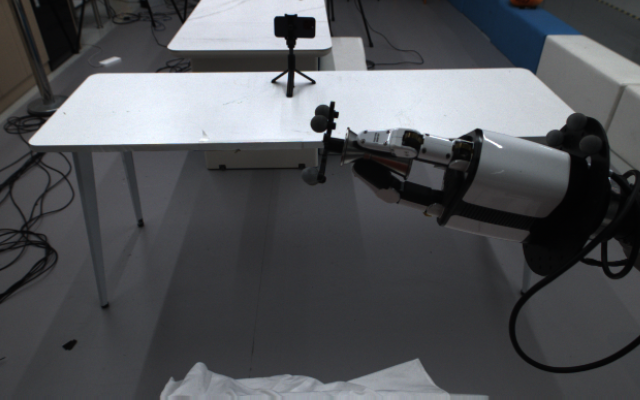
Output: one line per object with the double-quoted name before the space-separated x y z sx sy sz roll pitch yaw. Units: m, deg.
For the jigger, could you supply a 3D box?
"jigger" 0.064 -0.050 0.489 0.071 0.043 0.043 10 35 2
